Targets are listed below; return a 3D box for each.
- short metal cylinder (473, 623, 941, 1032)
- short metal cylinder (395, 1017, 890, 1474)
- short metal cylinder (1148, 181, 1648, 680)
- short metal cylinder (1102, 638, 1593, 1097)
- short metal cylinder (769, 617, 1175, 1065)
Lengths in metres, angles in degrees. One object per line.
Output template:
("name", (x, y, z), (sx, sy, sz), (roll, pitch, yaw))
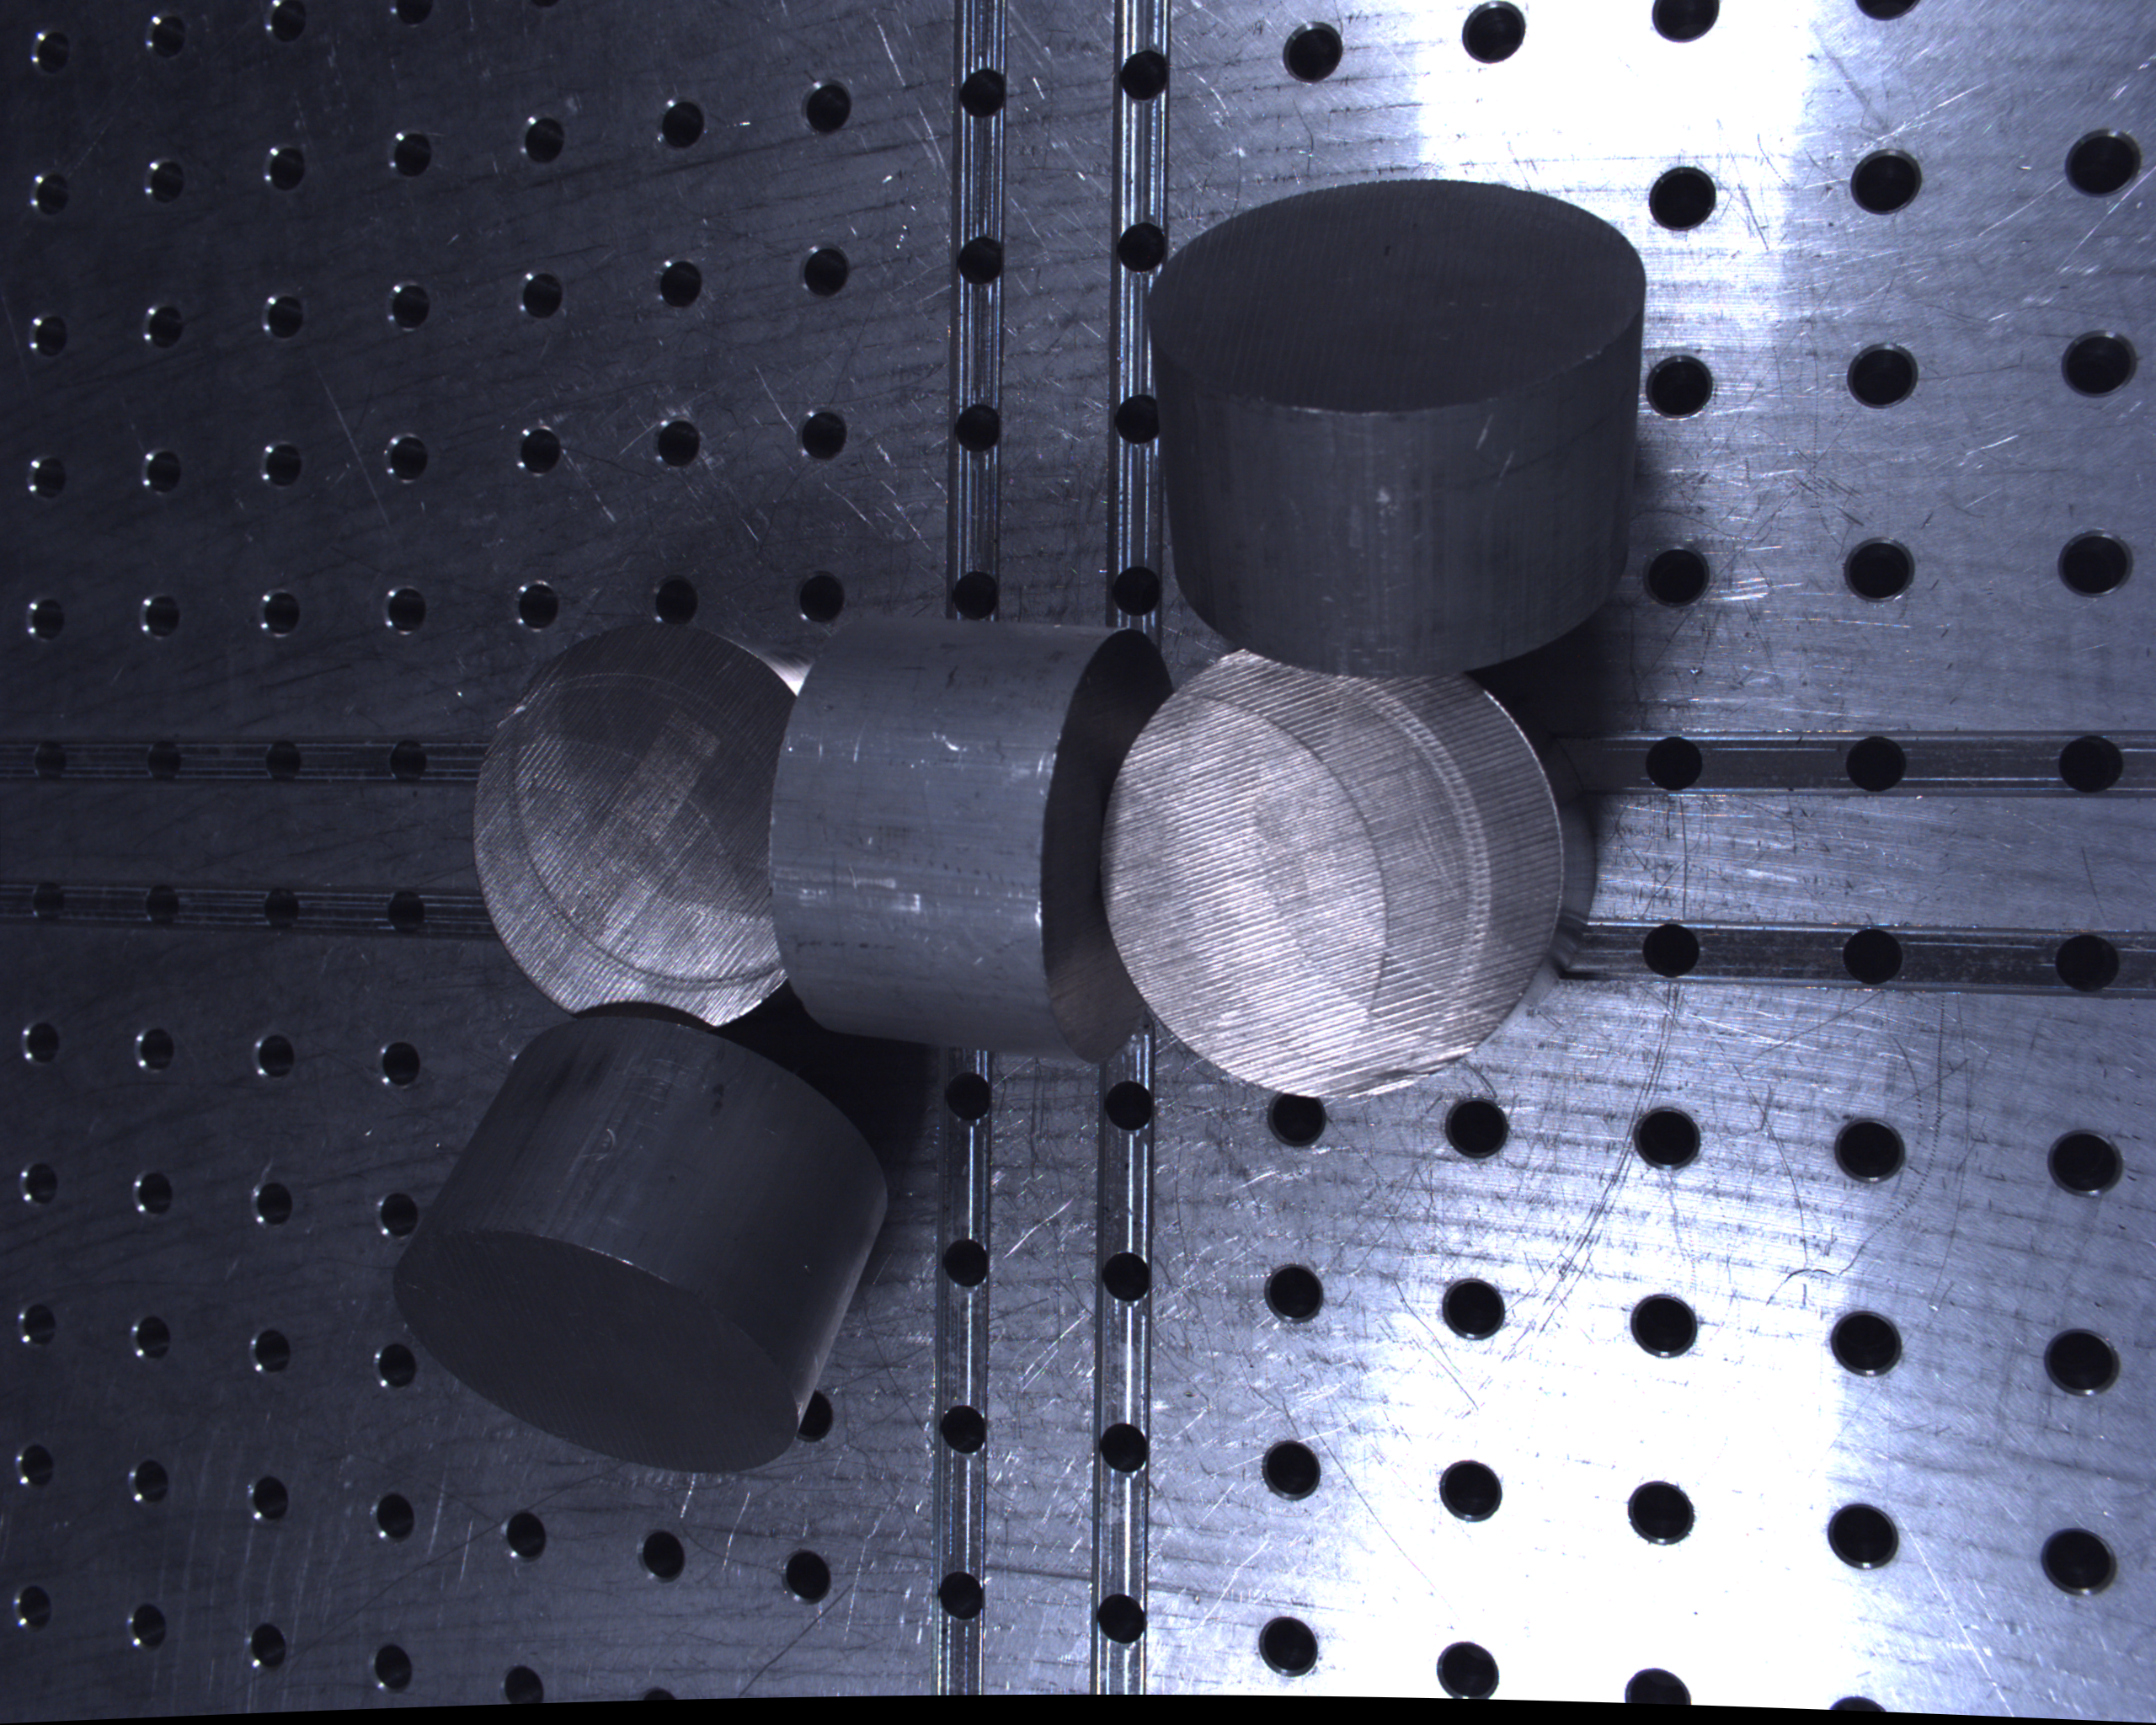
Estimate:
("short metal cylinder", (-0.073, -0.006, 0.423), (0.080, 0.050, 0.079), (0, 90, 19))
("short metal cylinder", (-0.083, 0.075, 0.405), (0.080, 0.050, 0.080), (11, 137, 11))
("short metal cylinder", (0.054, -0.075, 0.357), (0.080, 0.080, 0.050), (9, 135, 19))
("short metal cylinder", (0.051, 0.000, 0.380), (0.080, 0.050, 0.079), (0, 90, 19))
("short metal cylinder", (-0.016, -0.005, 0.388), (0.050, 0.080, 0.079), (5, 92, 19))
